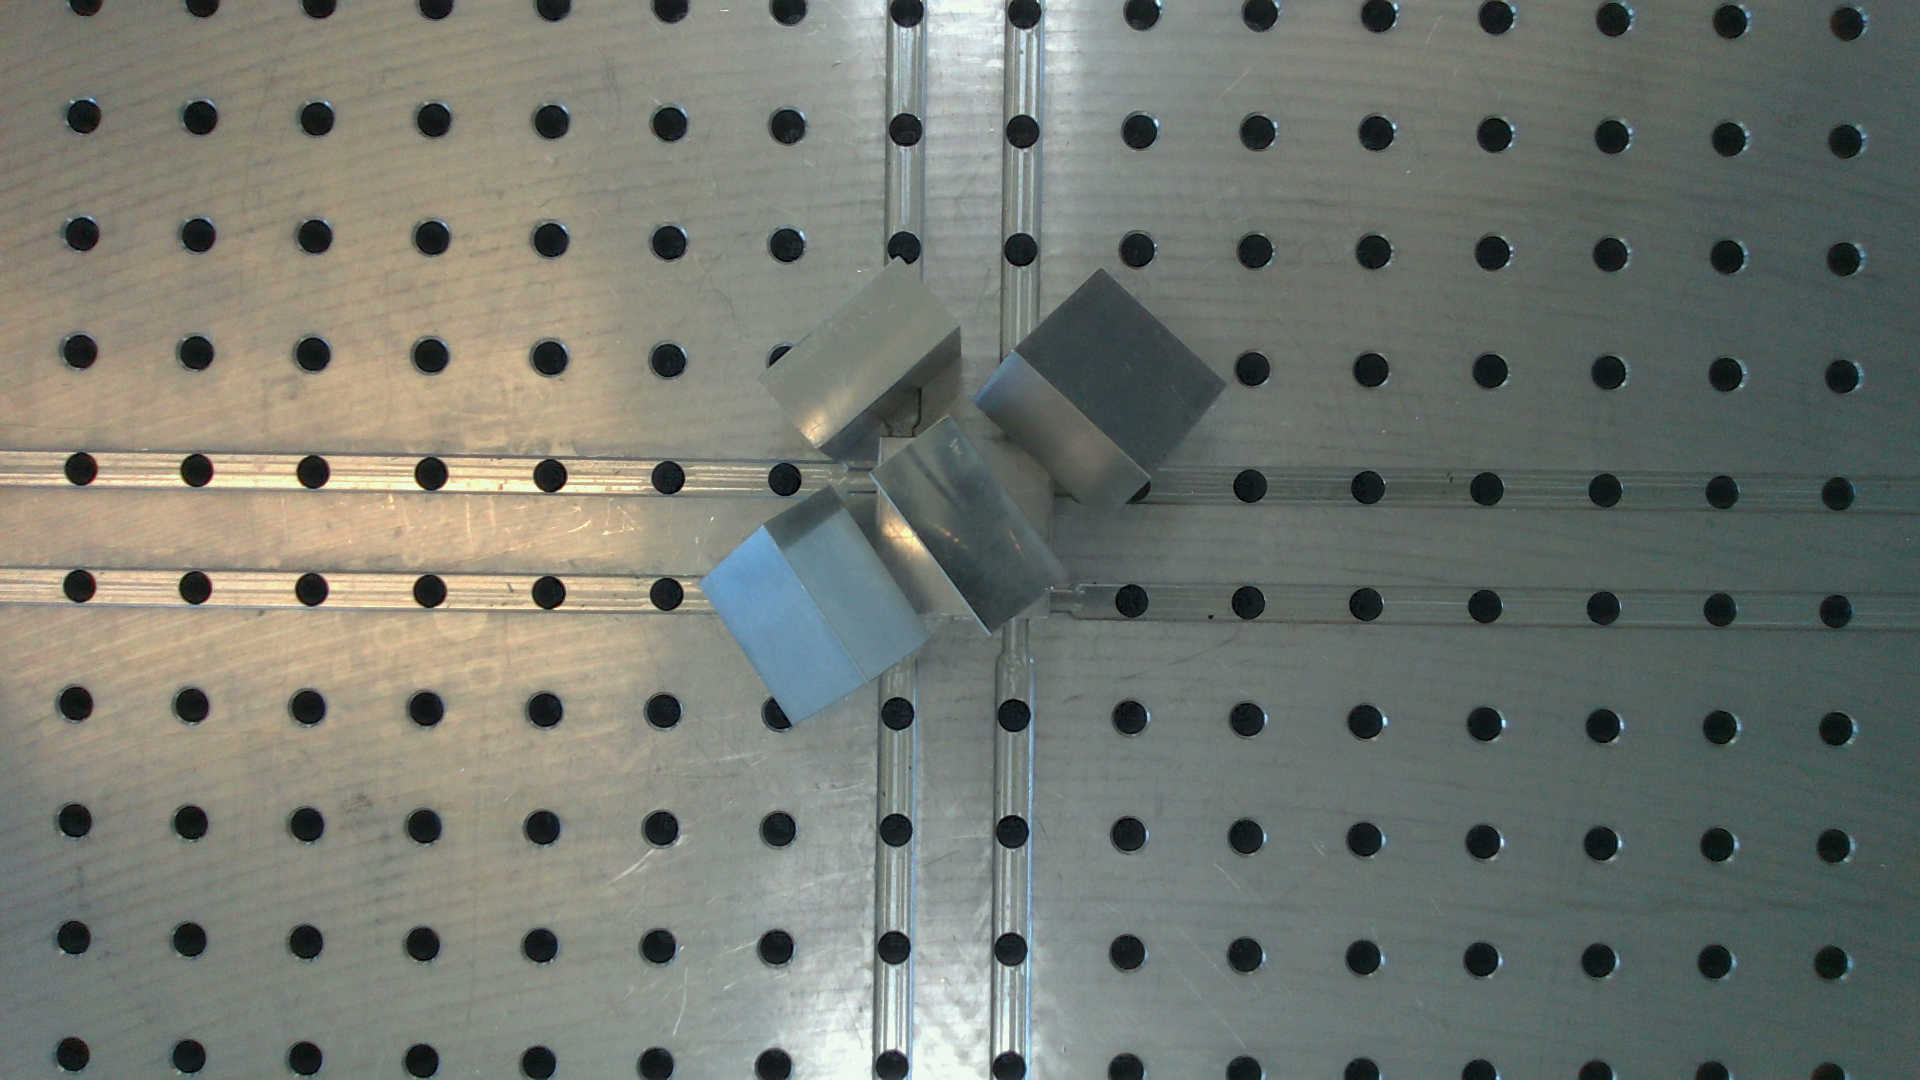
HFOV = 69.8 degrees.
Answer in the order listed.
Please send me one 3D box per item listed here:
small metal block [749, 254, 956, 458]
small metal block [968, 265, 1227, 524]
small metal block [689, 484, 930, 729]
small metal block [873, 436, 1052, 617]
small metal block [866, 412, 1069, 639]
[{"bbox_3d":[-0.028,-0.049,0.385,0.050,0.050,0.025,-41,90,0],"label":"small metal block"},{"bbox_3d":[0.039,-0.041,0.384,0.050,0.025,0.050,43,50,0],"label":"small metal block"},{"bbox_3d":[-0.043,0.020,0.382,0.025,0.050,0.050,-34,90,-37],"label":"small metal block"},{"bbox_3d":[0.000,-0.004,0.397,0.050,0.025,0.050,0,90,-1],"label":"small metal block"},{"bbox_3d":[0.002,-0.004,0.360,0.025,0.050,0.050,-36,91,-1],"label":"small metal block"}]
